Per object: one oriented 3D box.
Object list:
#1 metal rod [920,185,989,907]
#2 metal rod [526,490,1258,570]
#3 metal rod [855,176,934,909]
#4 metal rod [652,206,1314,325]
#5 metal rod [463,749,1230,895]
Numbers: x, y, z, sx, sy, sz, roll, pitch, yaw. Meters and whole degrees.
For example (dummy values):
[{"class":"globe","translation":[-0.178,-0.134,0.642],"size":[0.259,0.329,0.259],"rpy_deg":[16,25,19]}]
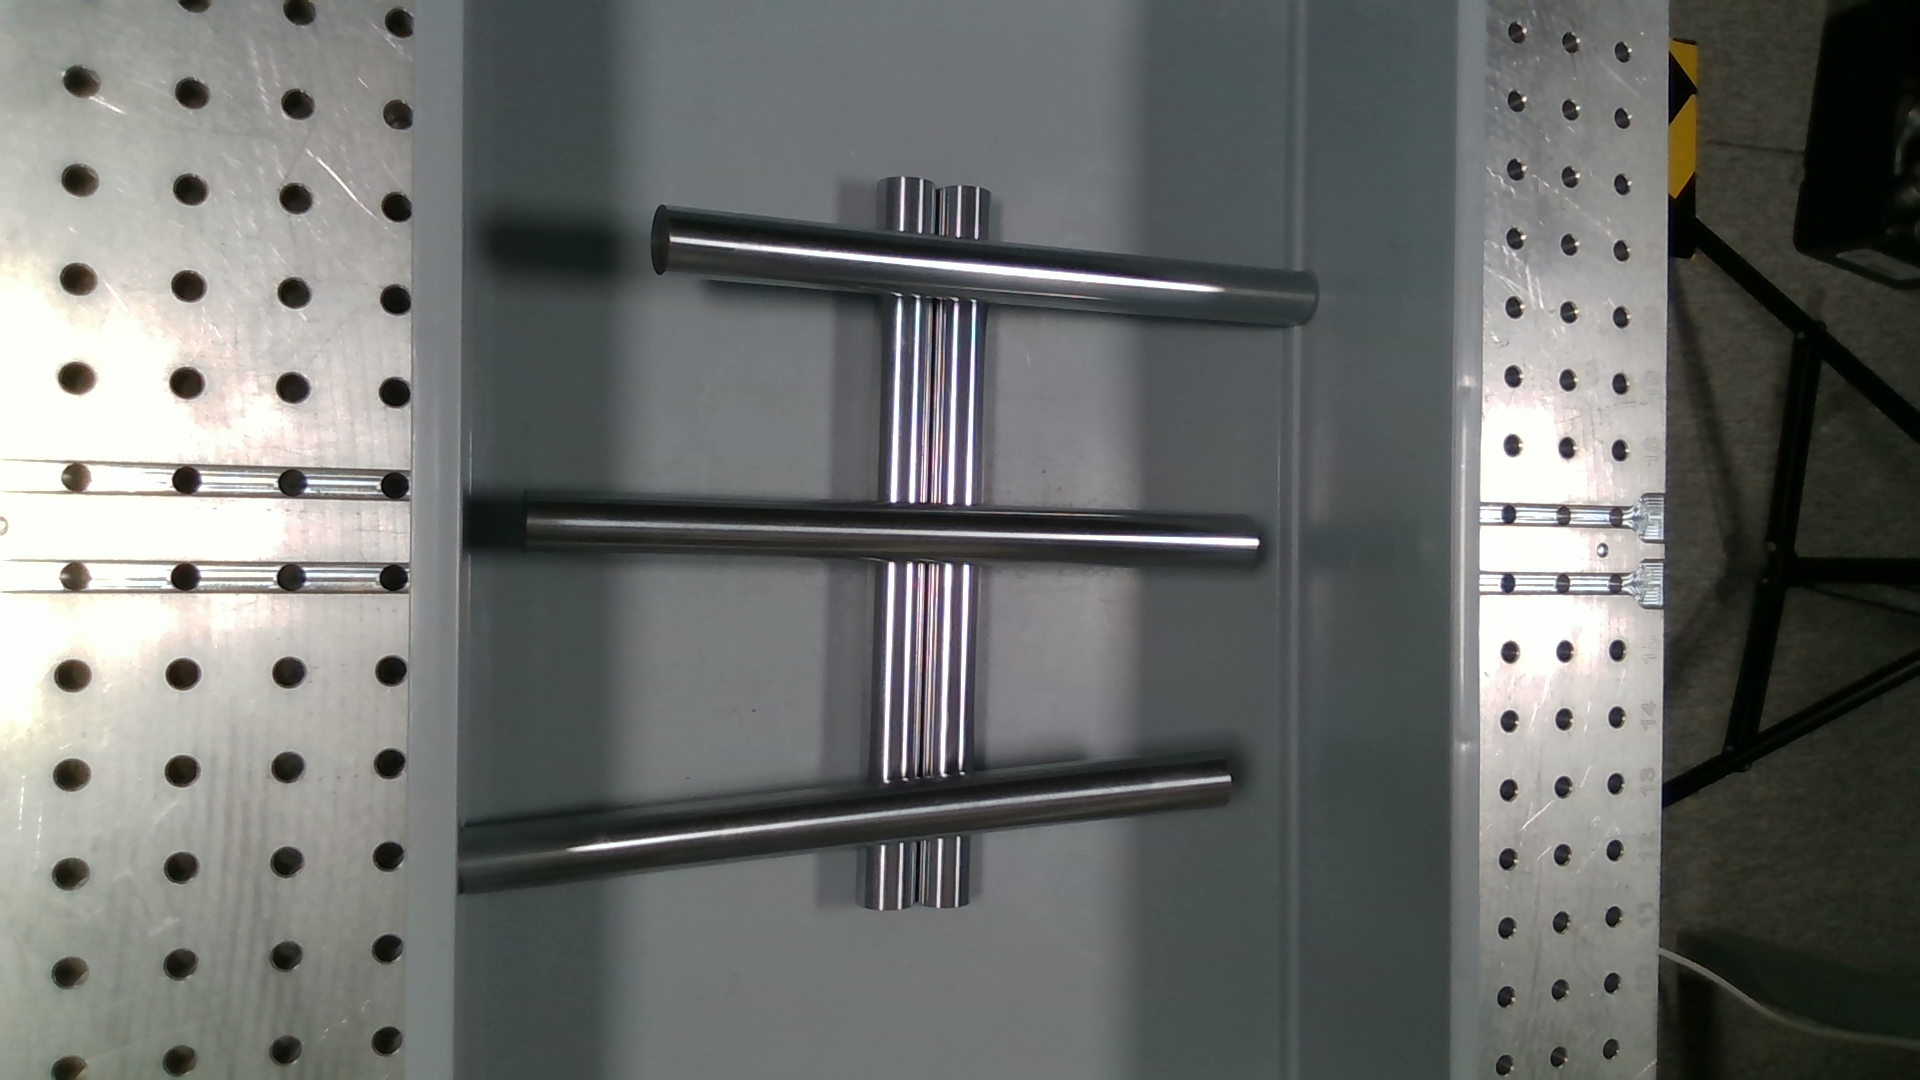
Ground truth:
[{"class":"metal rod","translation":[-0.004,0.002,0.584],"size":[0.025,0.025,0.300],"rpy_deg":[2,90,-20]},{"class":"metal rod","translation":[-0.017,-0.003,0.552],"size":[0.300,0.025,0.025],"rpy_deg":[1,90,-20]},{"class":"metal rod","translation":[-0.027,0.001,0.575],"size":[0.025,0.025,0.300],"rpy_deg":[2,90,-20]},{"class":"metal rod","translation":[0.024,-0.110,0.568],"size":[0.300,0.025,0.025],"rpy_deg":[-1,90,-28]},{"class":"metal rod","translation":[-0.038,0.110,0.547],"size":[0.300,0.025,0.025],"rpy_deg":[-4,91,-12]}]
